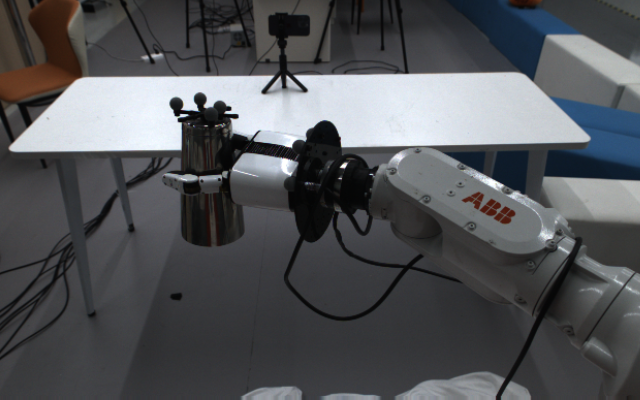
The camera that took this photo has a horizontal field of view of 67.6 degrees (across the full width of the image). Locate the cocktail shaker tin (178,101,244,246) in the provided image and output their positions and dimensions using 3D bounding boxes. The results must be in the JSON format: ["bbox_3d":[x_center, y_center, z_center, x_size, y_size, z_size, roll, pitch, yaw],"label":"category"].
[{"bbox_3d":[-0.155,-0.031,0.682,0.093,0.170,0.093,2,26,-1],"label":"cocktail shaker tin"}]
